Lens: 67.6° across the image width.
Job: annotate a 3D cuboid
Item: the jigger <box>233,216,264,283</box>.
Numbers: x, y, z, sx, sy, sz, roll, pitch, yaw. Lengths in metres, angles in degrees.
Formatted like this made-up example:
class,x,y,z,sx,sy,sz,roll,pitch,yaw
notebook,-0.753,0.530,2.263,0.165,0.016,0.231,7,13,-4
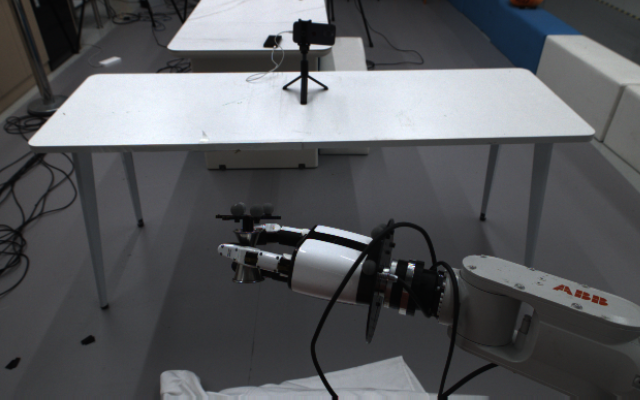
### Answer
class,x,y,z,sx,sy,sz,roll,pitch,yaw
jigger,-0.096,0.074,0.653,0.043,0.071,0.043,0,2,0
